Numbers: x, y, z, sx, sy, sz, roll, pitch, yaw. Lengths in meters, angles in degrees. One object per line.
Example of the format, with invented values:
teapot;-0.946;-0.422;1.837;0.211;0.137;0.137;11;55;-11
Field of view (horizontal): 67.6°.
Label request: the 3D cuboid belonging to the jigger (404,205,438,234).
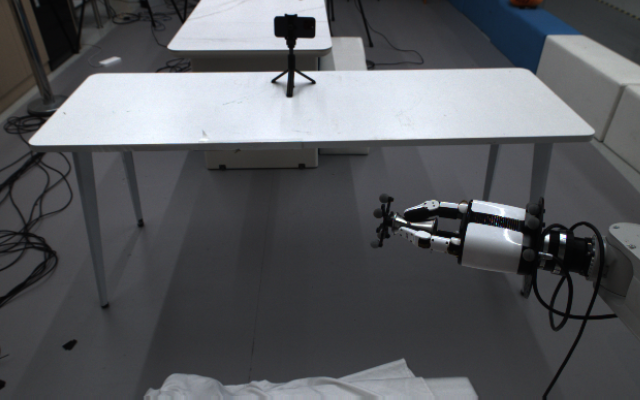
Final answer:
jigger;0.165;0.042;0.811;0.071;0.043;0.043;10;35;22
